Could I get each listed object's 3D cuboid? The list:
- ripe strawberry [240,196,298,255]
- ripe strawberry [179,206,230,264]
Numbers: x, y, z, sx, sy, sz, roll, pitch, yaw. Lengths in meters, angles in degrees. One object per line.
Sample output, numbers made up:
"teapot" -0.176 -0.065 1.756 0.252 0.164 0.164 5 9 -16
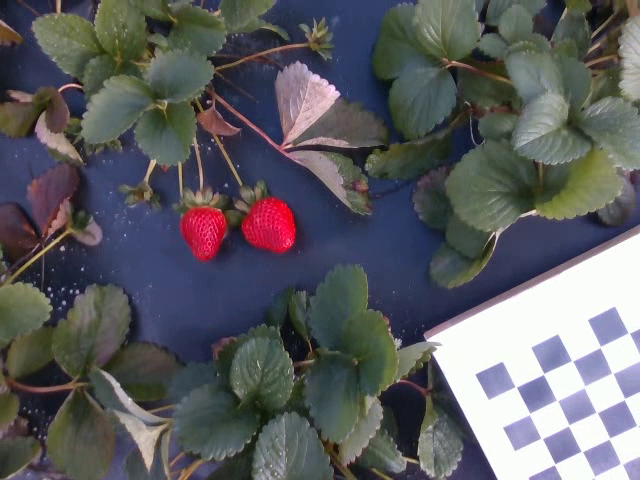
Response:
"ripe strawberry" -0.047 -0.010 0.553 0.064 0.058 0.051 45 5 33
"ripe strawberry" -0.108 -0.005 0.564 0.048 0.056 0.041 -13 -21 5
